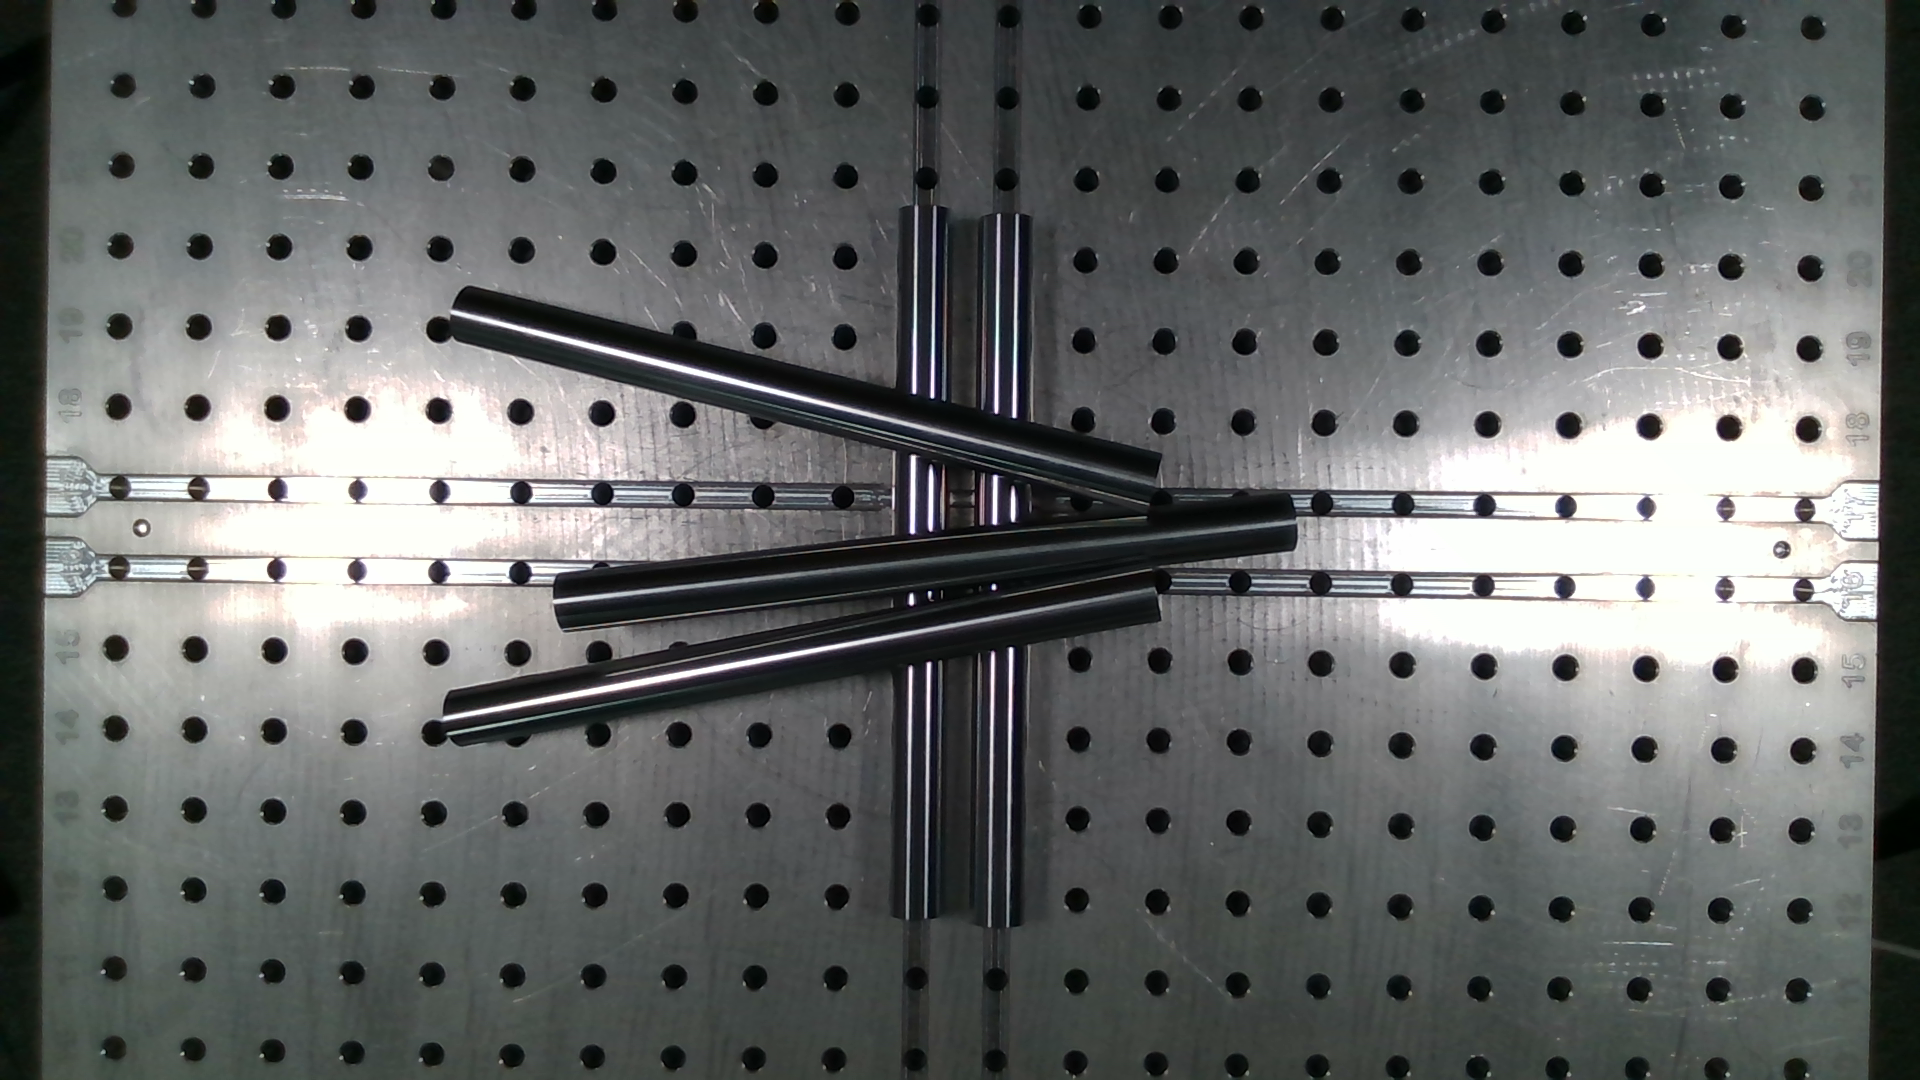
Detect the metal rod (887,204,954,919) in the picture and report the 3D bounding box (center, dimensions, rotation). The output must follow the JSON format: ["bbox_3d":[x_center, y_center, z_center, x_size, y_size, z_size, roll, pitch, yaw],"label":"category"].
[{"bbox_3d":[-0.017,0.009,0.590,0.025,0.025,0.300,1,91,0],"label":"metal rod"}]

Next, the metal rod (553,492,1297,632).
[{"bbox_3d":[-0.014,0.009,0.565,0.300,0.025,0.025,-6,90,0],"label":"metal rod"}]

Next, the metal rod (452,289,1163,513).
[{"bbox_3d":[-0.066,-0.059,0.570,0.300,0.025,0.025,14,90,7],"label":"metal rod"}]

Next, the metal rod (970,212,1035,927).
[{"bbox_3d":[0.018,0.013,0.590,0.025,0.025,0.300,1,91,0],"label":"metal rod"}]

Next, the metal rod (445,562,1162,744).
[{"bbox_3d":[-0.067,0.048,0.571,0.300,0.025,0.025,-11,90,7],"label":"metal rod"}]
